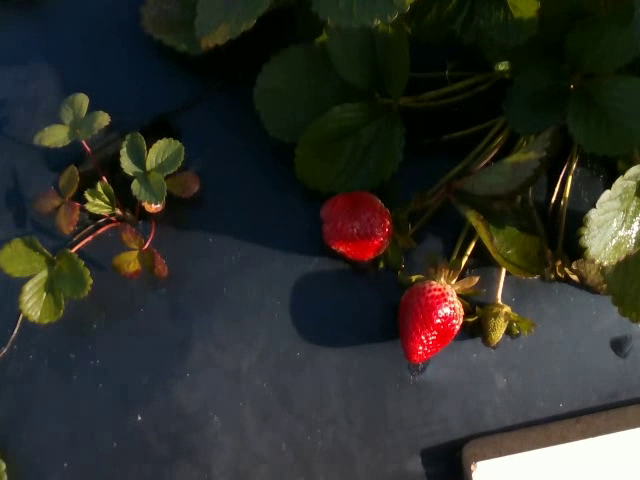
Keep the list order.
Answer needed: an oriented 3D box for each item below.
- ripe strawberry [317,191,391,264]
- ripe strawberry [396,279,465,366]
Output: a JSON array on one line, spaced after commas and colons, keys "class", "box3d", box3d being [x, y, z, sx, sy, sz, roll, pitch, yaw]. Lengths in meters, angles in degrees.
[{"class": "ripe strawberry", "box3d": [0.022, -0.008, 0.353, 0.054, 0.048, 0.039, -1, 16, -29]}, {"class": "ripe strawberry", "box3d": [0.061, 0.048, 0.335, 0.043, 0.053, 0.038, 32, -30, -12]}]
